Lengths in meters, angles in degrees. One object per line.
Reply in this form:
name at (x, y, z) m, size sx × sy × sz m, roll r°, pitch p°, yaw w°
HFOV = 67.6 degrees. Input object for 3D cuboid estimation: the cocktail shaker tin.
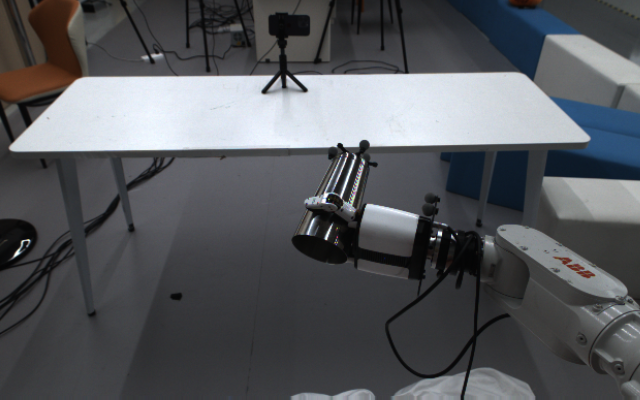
cocktail shaker tin at (0.023, 0.007, 0.789) m, size 0.093 × 0.093 × 0.170 m, roll 14°, pitch 61°, yaw 16°
